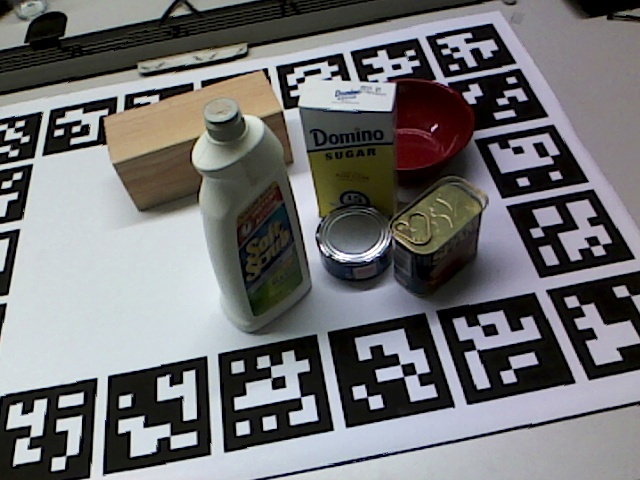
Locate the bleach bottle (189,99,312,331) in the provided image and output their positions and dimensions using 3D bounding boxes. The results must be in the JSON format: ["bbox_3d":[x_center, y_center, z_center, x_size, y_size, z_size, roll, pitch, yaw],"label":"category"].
[{"bbox_3d":[-0.072,-0.019,0.578,0.102,0.249,0.068,-33,53,-16],"label":"bleach bottle"}]

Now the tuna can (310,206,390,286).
[{"bbox_3d":[0.034,0.006,0.674,0.086,0.033,0.086,-4,55,6],"label":"tuna can"}]

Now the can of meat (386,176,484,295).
[{"bbox_3d":[0.120,-0.003,0.644,0.101,0.083,0.058,-36,52,-20],"label":"can of meat"}]

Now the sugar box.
[{"bbox_3d":[0.037,-0.088,0.658,0.093,0.175,0.045,3,55,16],"label":"sugar box"}]

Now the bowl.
[{"bbox_3d":[0.109,-0.129,0.759,0.162,0.055,0.162,-7,51,8],"label":"bowl"}]

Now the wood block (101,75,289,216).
[{"bbox_3d":[-0.154,-0.119,0.776,0.206,0.089,0.091,-19,56,-7],"label":"wood block"}]
